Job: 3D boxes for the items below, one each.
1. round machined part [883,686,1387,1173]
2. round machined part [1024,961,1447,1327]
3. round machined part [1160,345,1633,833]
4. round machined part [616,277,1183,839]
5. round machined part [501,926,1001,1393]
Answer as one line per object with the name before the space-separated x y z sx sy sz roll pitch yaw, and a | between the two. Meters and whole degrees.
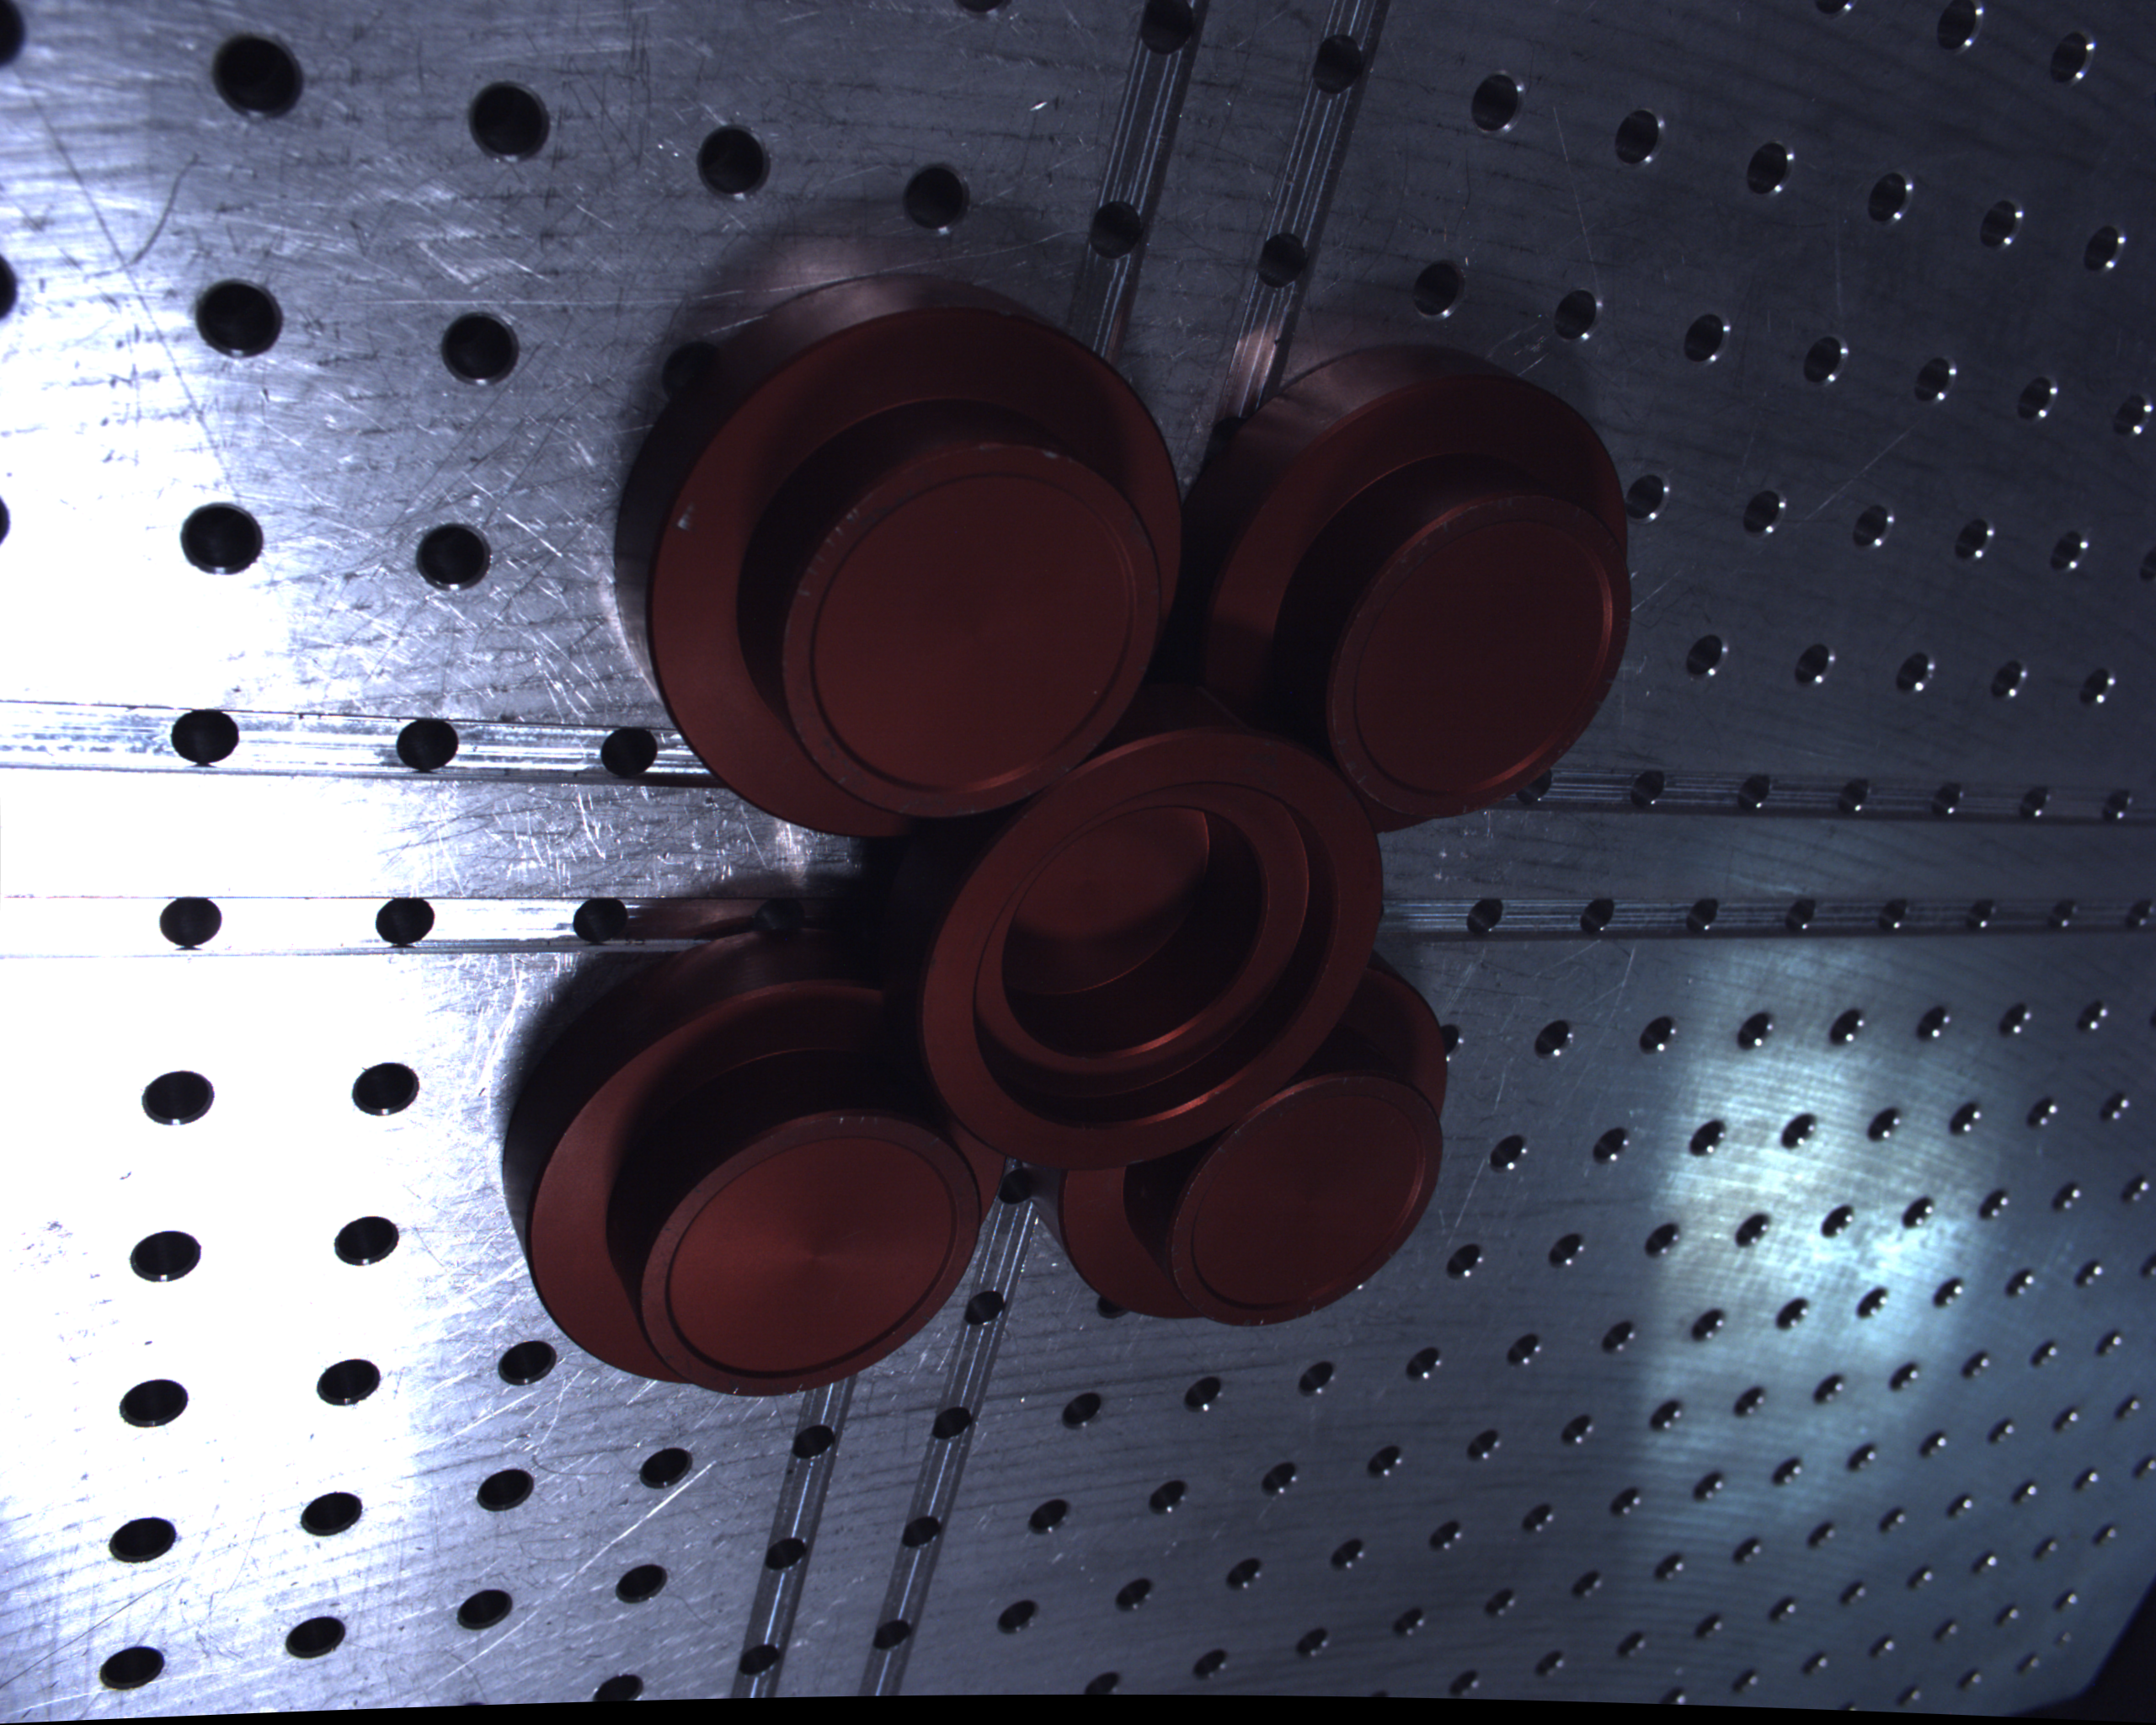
round machined part | 0.008 0.009 0.410 0.099 0.042 0.097 -14 125 -21
round machined part | 0.041 0.063 0.463 0.099 0.042 0.097 -14 125 -21
round machined part | 0.068 -0.048 0.409 0.099 0.042 0.097 -14 125 -21
round machined part | -0.025 -0.046 0.358 0.099 0.042 0.097 -14 125 -21
round machined part | -0.059 0.065 0.410 0.099 0.042 0.097 -14 125 -21
